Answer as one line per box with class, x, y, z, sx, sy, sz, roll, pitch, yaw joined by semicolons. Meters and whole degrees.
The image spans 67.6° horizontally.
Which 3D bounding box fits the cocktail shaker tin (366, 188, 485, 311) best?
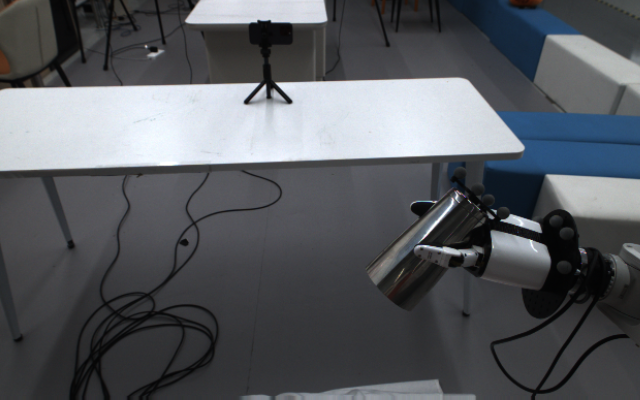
cocktail shaker tin;0.156;0.061;0.692;0.093;0.170;0.093;41;12;-11
